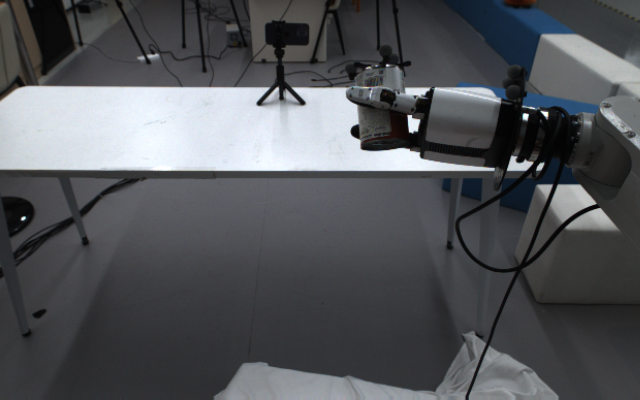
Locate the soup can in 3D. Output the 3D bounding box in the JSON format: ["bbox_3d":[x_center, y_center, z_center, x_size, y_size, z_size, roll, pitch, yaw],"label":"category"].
[{"bbox_3d":[0.085,-0.123,0.657,0.067,0.101,0.067,-5,-5,0],"label":"soup can"}]
